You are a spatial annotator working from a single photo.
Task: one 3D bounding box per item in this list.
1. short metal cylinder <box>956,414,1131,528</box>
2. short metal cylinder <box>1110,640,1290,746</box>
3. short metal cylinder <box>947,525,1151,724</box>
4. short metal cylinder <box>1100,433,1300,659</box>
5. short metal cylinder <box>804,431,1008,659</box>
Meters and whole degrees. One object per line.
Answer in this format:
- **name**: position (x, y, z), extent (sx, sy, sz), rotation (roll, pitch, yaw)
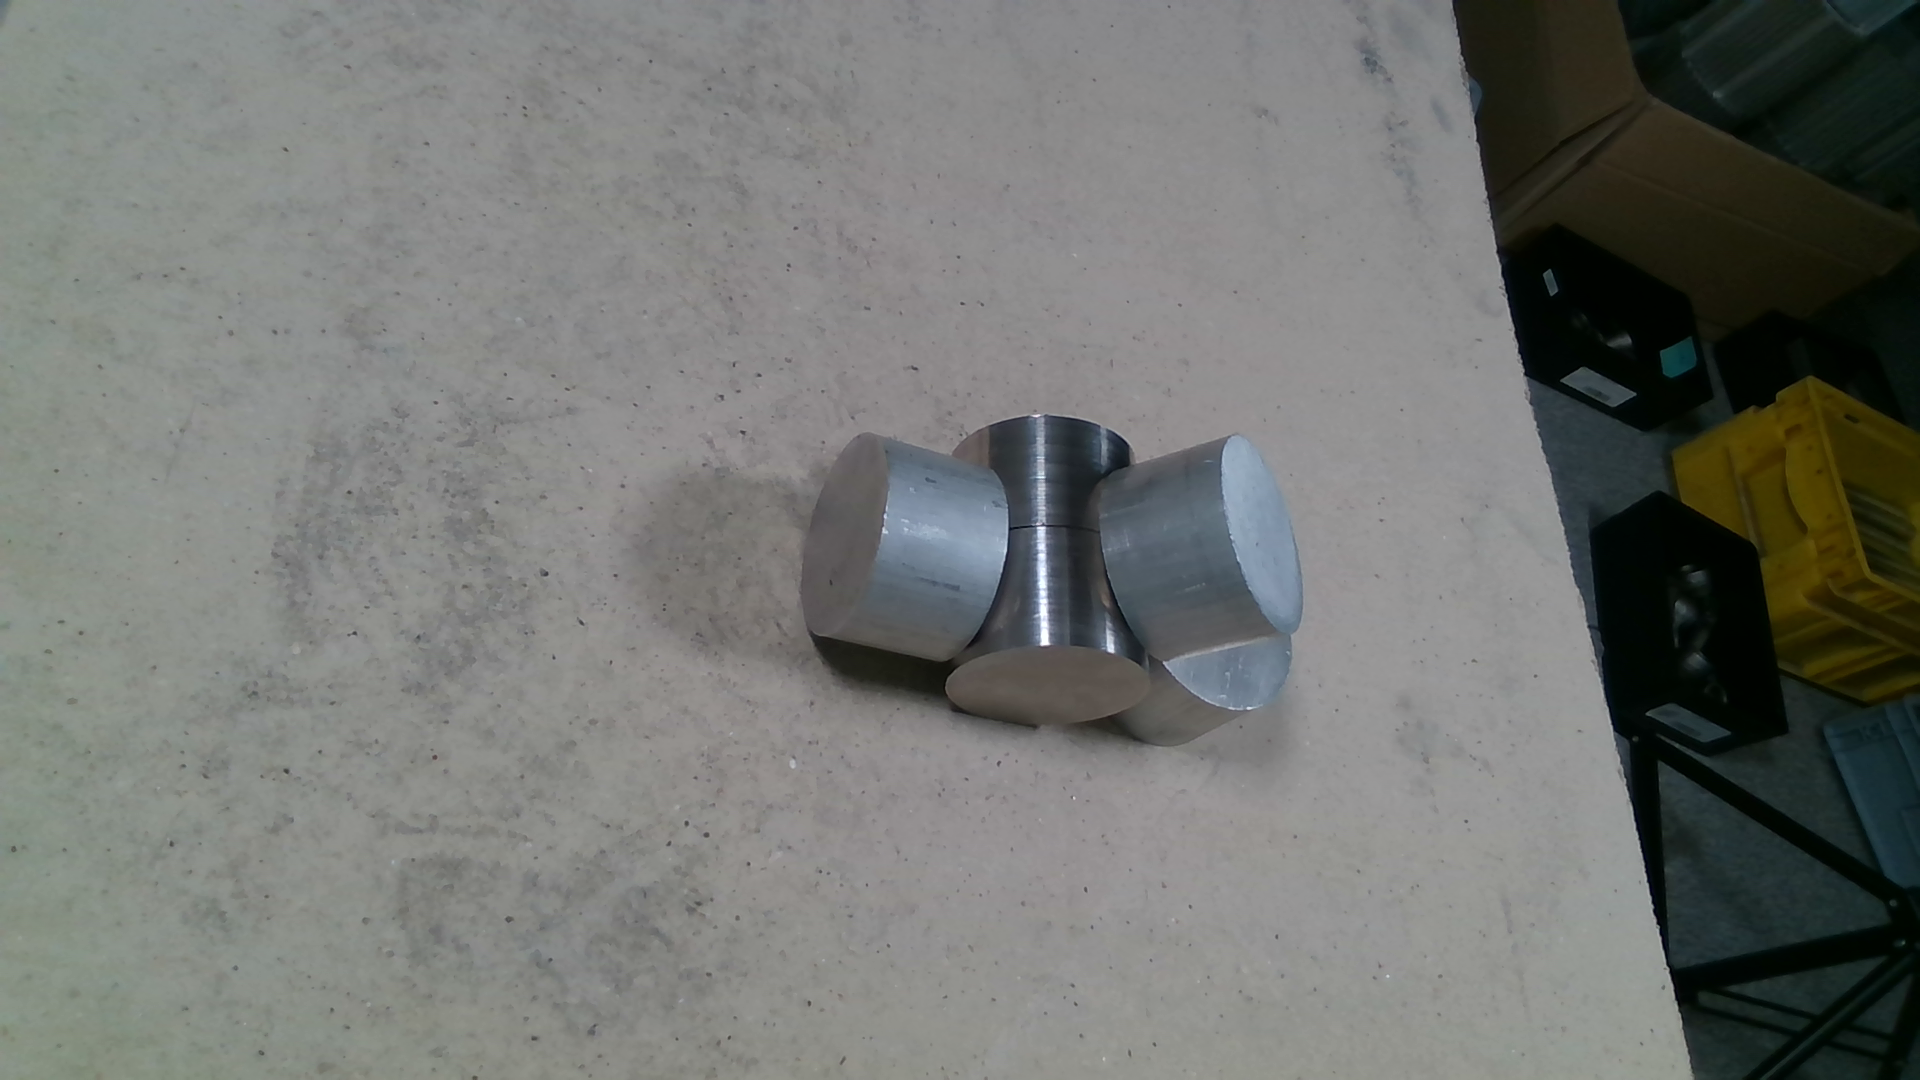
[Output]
- **short metal cylinder**: position (0.034, -0.010, 0.578), extent (0.080, 0.080, 0.050), rotation (15, 58, -25)
- **short metal cylinder**: position (0.098, 0.045, 0.607), extent (0.080, 0.050, 0.080), rotation (14, 59, -25)
- **short metal cylinder**: position (0.035, 0.036, 0.552), extent (0.080, 0.080, 0.050), rotation (14, 58, -25)
- **short metal cylinder**: position (0.096, 0.003, 0.542), extent (0.080, 0.050, 0.080), rotation (36, 46, -48)
- **short metal cylinder**: position (-0.023, 0.003, 0.535), extent (0.050, 0.080, 0.080), rotation (15, 58, -25)
